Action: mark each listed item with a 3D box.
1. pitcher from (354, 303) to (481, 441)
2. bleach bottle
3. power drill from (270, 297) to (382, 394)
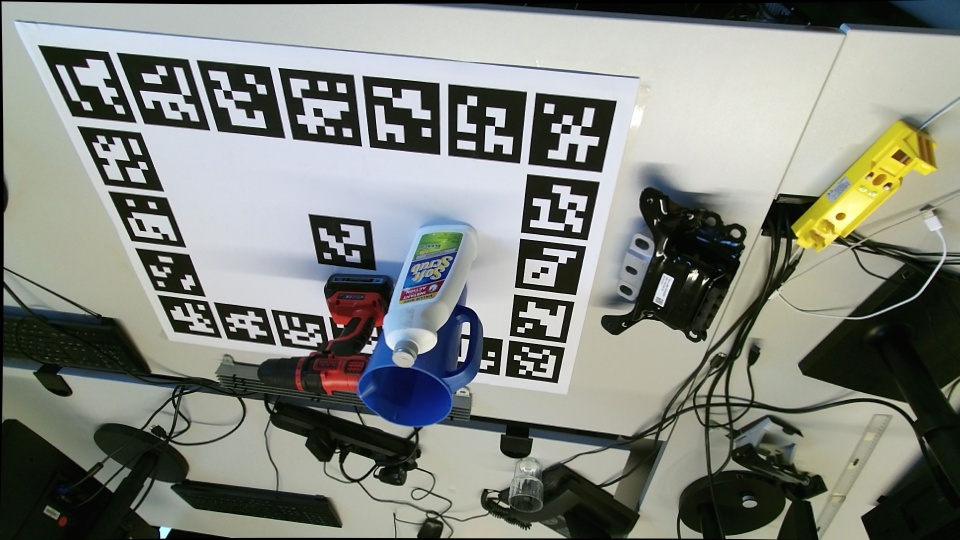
[{"bbox_3d":[-0.083,0.126,0.821,0.189,0.241,0.133,-17,121,20],"label":"pitcher"},{"bbox_3d":[-0.071,0.058,0.743,0.103,0.250,0.068,-1,126,9],"label":"bleach bottle"},{"bbox_3d":[-0.250,0.118,0.853,0.185,0.186,0.057,5,124,12],"label":"power drill"}]
